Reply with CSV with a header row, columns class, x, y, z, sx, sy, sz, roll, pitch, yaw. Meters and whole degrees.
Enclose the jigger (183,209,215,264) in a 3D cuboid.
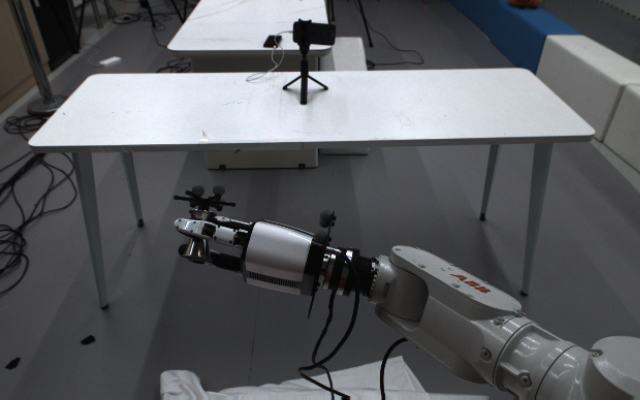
class,x,y,z,sx,sy,sz,roll,pitch,yaw
jigger,-0.173,0.050,0.695,0.043,0.043,0.071,4,75,3
